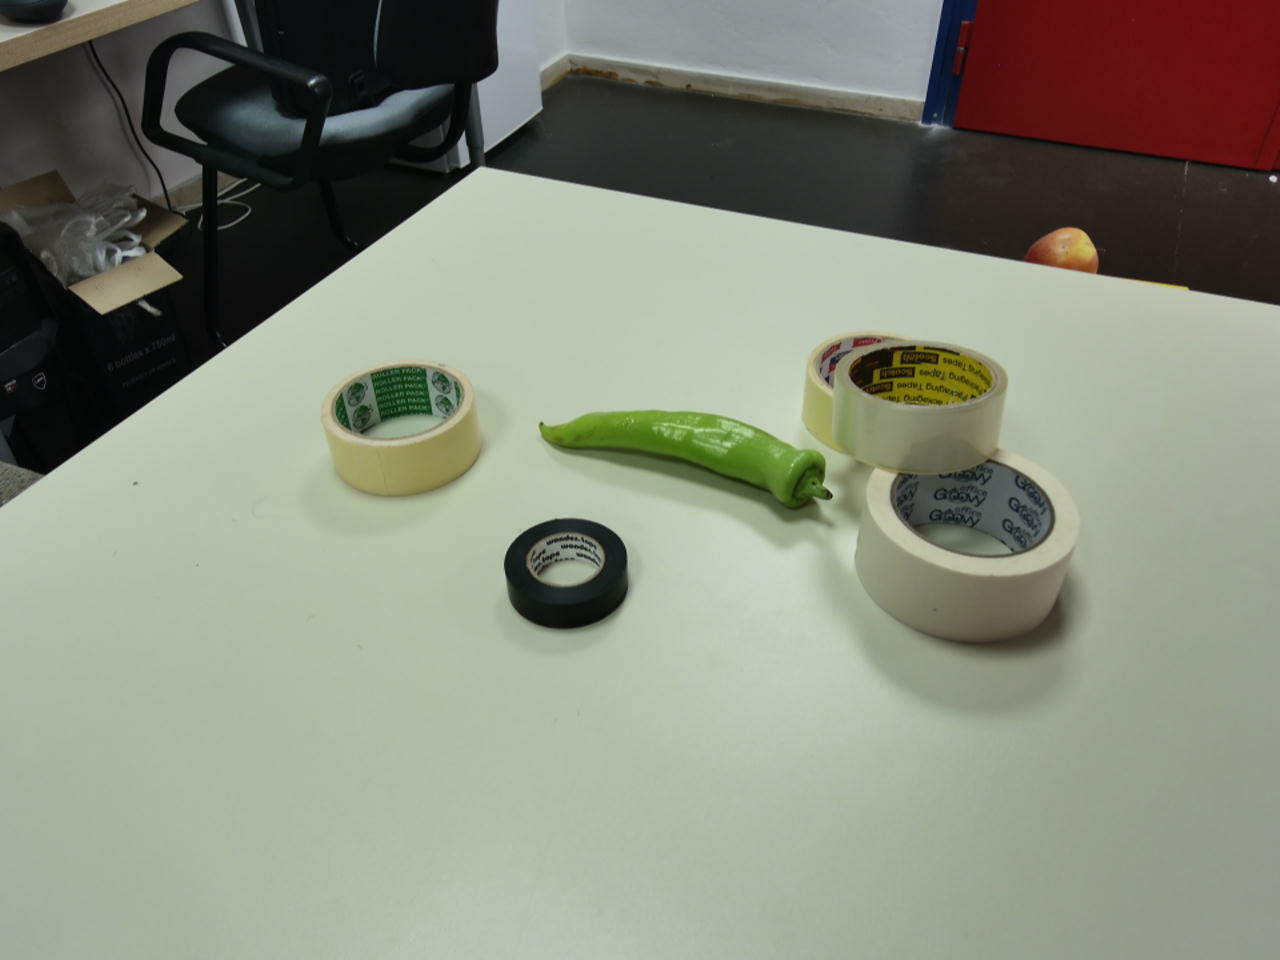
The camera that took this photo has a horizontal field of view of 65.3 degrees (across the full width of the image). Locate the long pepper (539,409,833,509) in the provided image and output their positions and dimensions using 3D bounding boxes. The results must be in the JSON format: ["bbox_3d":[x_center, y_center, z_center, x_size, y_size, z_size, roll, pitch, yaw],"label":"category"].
[{"bbox_3d":[0.027,-0.024,0.607,0.197,0.038,0.046,17,42,21],"label":"long pepper"}]
